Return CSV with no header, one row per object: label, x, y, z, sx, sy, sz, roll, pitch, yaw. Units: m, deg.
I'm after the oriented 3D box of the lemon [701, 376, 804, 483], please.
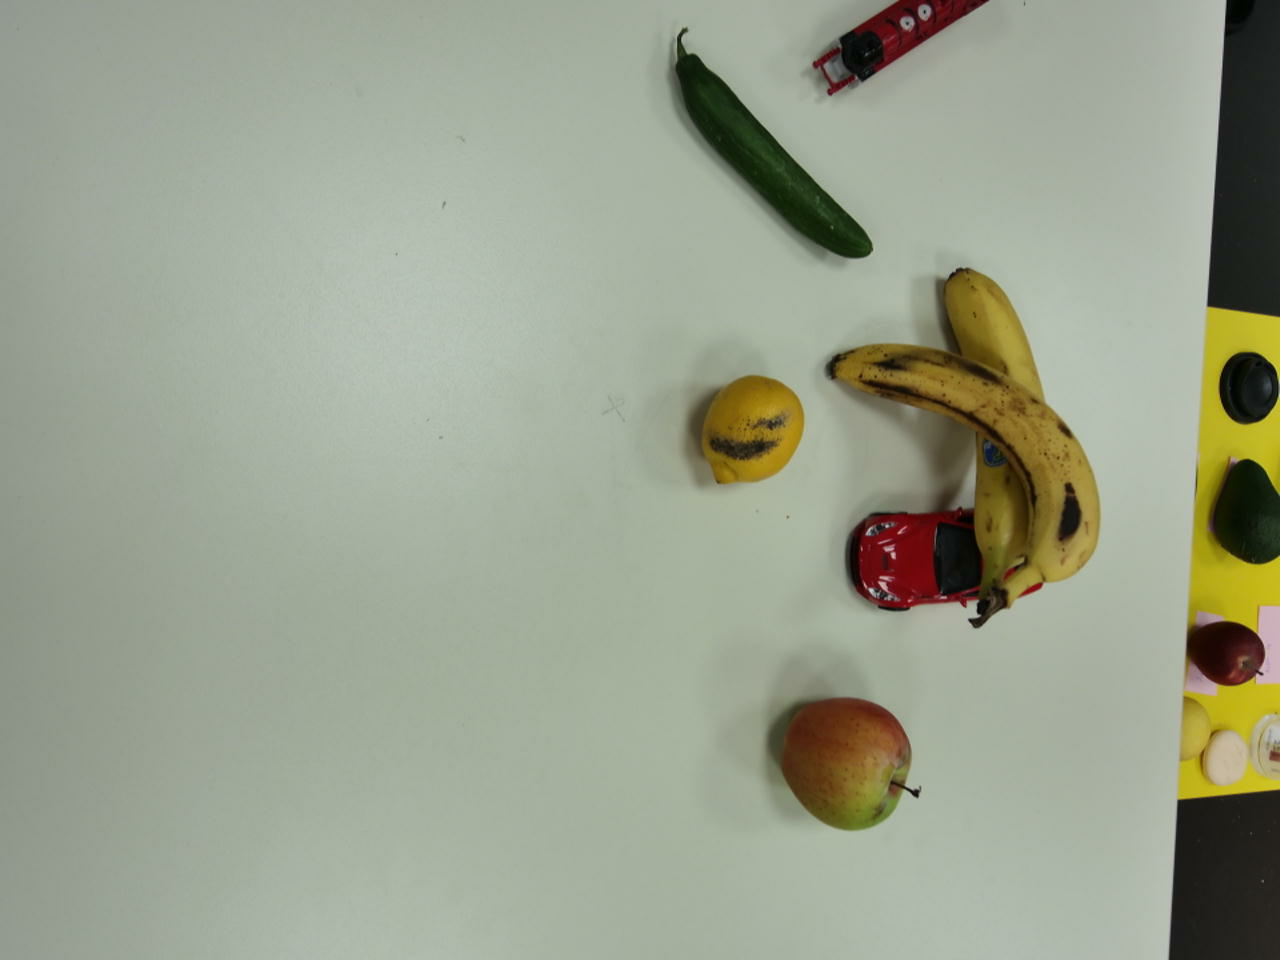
lemon,0.064,-0.029,0.572,0.058,0.056,0.061,-3,91,-22
